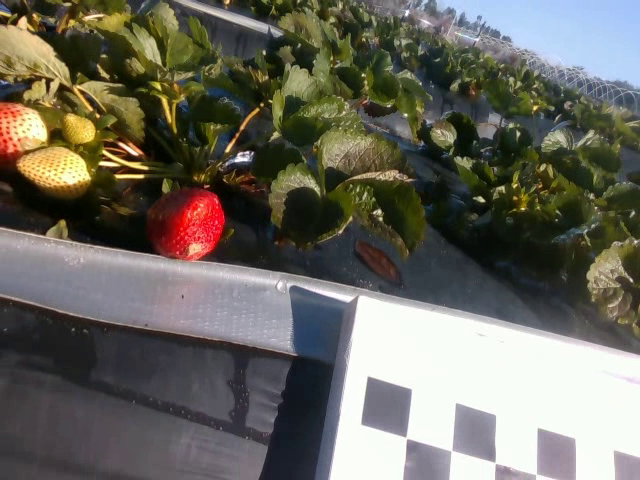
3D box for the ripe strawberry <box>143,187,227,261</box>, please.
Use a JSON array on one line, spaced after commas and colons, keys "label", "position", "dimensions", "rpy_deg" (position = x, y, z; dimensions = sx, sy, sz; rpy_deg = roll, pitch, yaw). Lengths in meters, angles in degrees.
[{"label": "ripe strawberry", "position": [-0.054, -0.008, 0.249], "dimensions": [0.036, 0.038, 0.045], "rpy_deg": [15, -15, -10]}]
